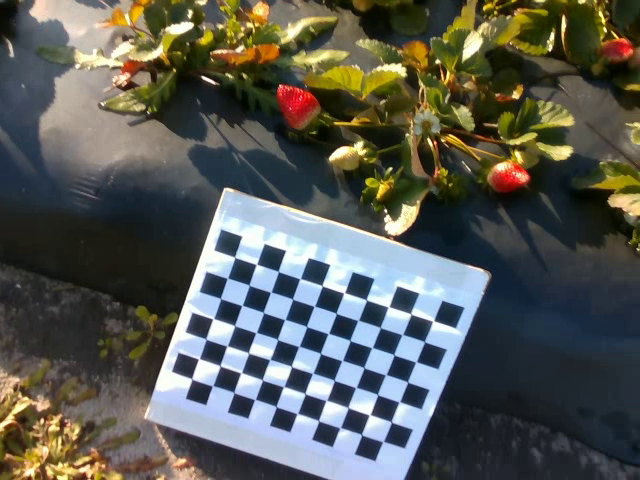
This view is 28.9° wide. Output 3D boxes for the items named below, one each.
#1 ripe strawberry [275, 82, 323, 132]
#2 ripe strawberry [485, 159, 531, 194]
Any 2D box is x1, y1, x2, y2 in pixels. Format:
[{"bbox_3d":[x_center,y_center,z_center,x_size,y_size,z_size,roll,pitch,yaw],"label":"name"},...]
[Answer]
[{"bbox_3d":[-0.021,-0.128,1.153,0.043,0.053,0.036,-45,-3,3],"label":"ripe strawberry"},{"bbox_3d":[0.170,-0.055,1.106,0.042,0.037,0.045,3,-6,-20],"label":"ripe strawberry"}]
